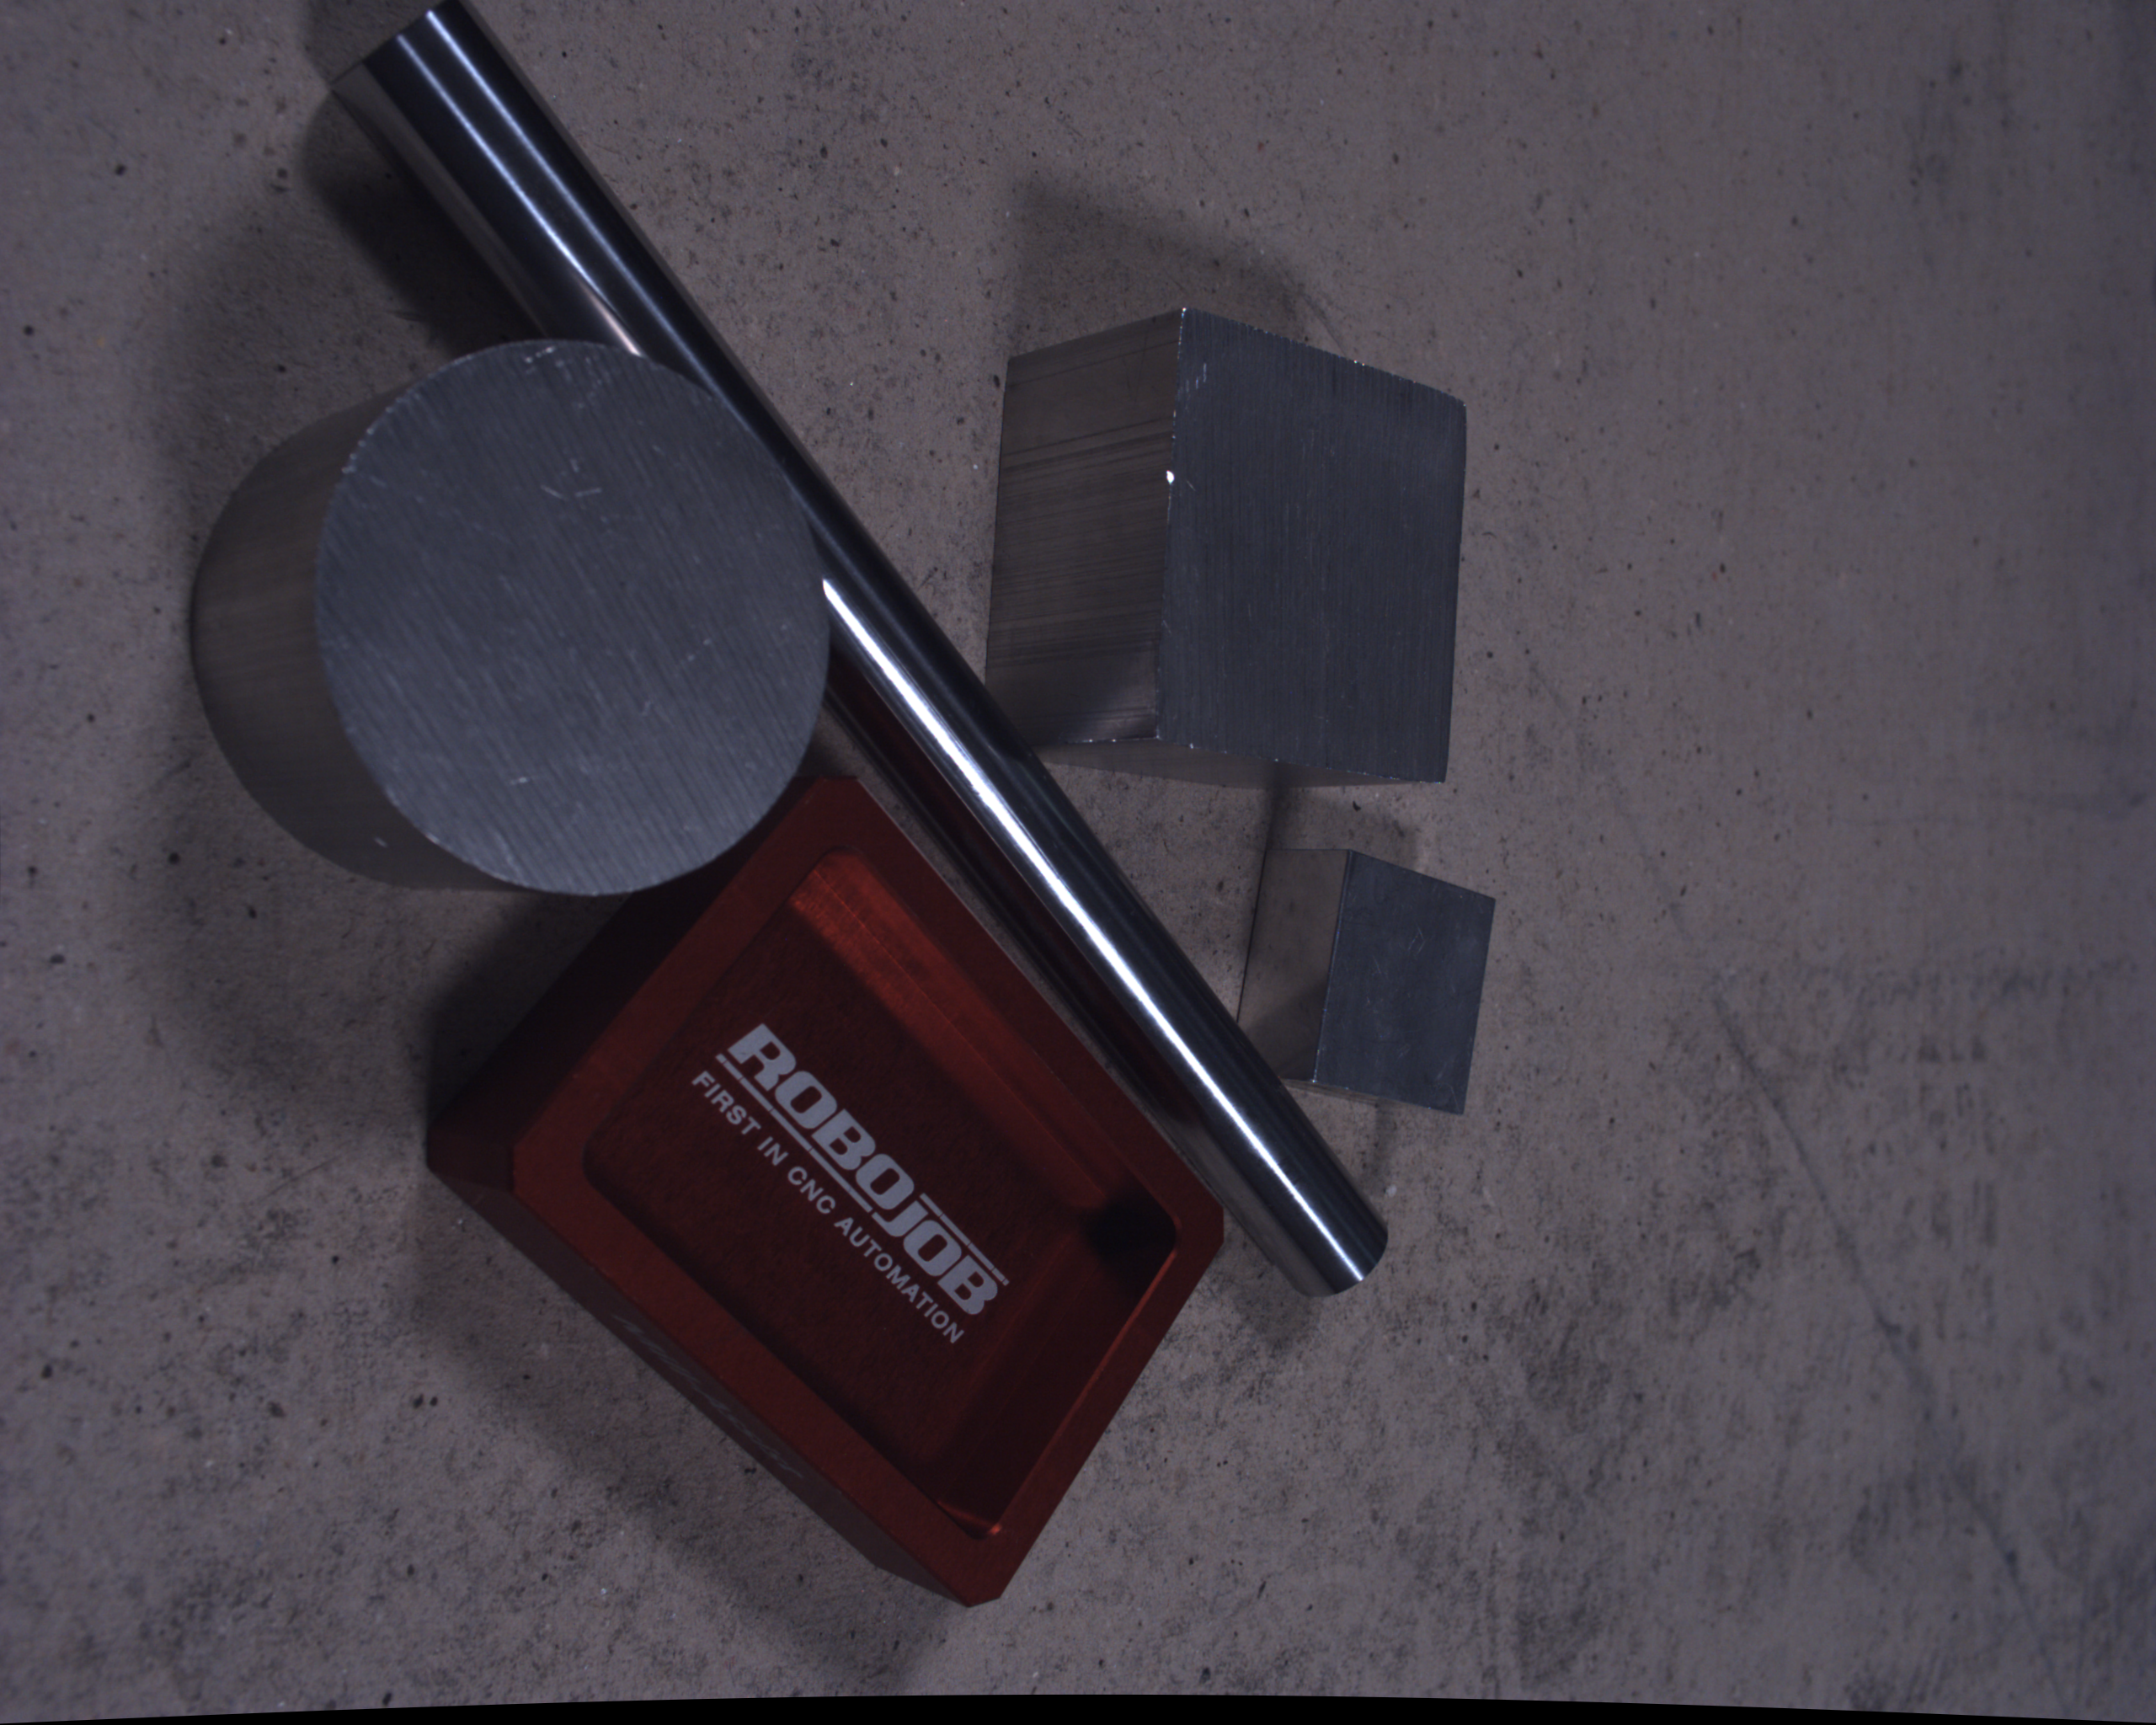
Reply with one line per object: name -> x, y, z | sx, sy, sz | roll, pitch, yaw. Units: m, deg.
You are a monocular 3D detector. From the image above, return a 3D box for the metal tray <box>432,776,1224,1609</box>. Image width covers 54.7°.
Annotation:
metal tray -> -0.038, 0.059, 0.373 | 0.130, 0.030, 0.090 | 52, 60, -28

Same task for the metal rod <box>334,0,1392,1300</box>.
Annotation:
metal rod -> -0.023, -0.020, 0.388 | 0.025, 0.025, 0.300 | -53, 121, -27

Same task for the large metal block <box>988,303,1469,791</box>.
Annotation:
large metal block -> 0.031, -0.058, 0.418 | 0.081, 0.050, 0.080 | 6, 87, -40

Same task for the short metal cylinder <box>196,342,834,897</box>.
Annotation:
short metal cylinder -> -0.085, -0.035, 0.320 | 0.081, 0.050, 0.079 | 0, 90, -40

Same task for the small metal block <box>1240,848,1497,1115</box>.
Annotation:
small metal block -> 0.064, 0.027, 0.463 | 0.050, 0.025, 0.050 | 17, 79, -39
